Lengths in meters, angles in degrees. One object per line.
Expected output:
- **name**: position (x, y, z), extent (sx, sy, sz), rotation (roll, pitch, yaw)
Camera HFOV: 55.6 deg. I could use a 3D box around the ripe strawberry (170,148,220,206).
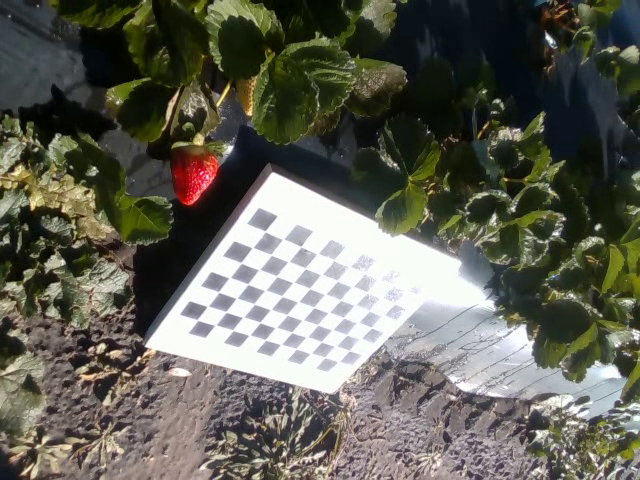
- **ripe strawberry**: position (-0.122, -0.061, 0.567), extent (0.048, 0.068, 0.040), rotation (7, 30, -22)
